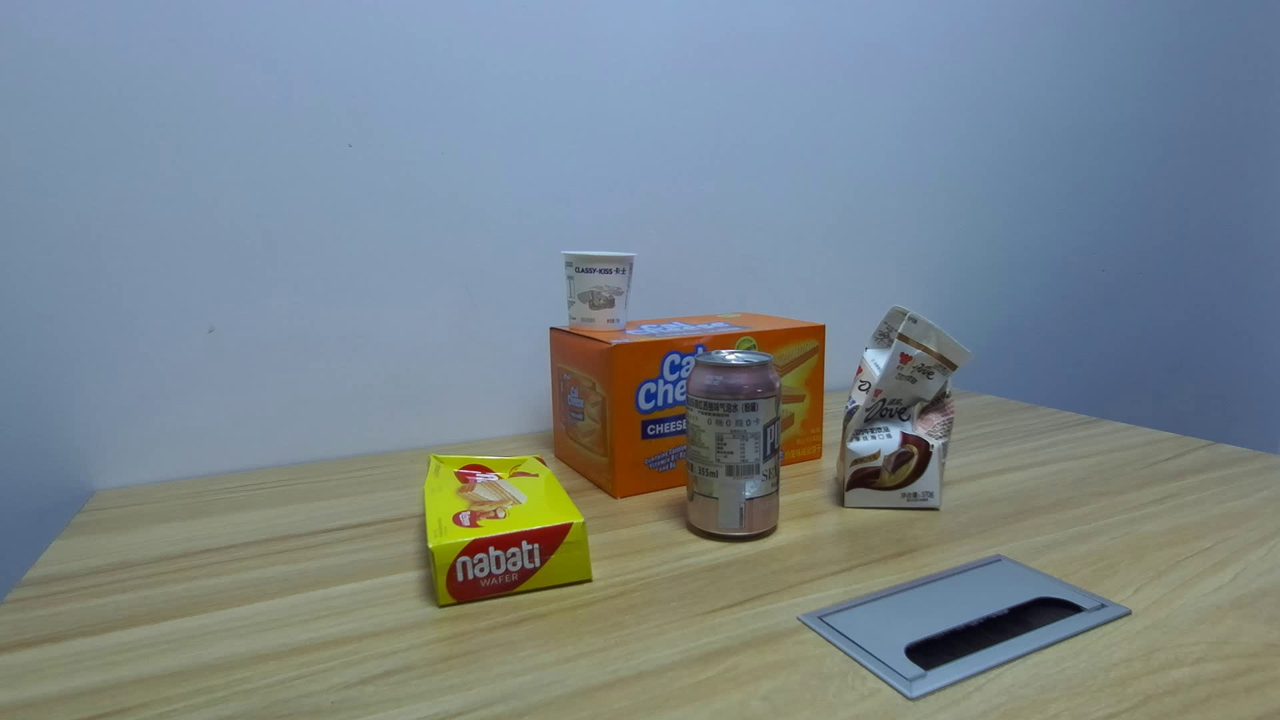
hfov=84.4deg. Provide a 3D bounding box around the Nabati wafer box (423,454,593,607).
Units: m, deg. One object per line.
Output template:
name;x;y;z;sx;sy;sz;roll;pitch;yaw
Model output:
Nabati wafer box;-0.103;0.104;0.503;0.097;0.042;0.202;-4;9;-16

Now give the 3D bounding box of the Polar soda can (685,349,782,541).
Polar soda can;0.066;0.058;0.498;0.067;0.125;0.067;0;7;0

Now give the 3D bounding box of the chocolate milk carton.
chocolate milk carton;0.203;0.039;0.547;0.089;0.155;0.077;14;14;2

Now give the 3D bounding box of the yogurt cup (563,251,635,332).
yogurt cup;-0.038;-0.063;0.646;0.072;0.068;0.072;1;9;0

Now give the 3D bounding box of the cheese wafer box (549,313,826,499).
cheese wafer box;0.043;0.031;0.665;0.223;0.129;0.147;-6;11;-27
